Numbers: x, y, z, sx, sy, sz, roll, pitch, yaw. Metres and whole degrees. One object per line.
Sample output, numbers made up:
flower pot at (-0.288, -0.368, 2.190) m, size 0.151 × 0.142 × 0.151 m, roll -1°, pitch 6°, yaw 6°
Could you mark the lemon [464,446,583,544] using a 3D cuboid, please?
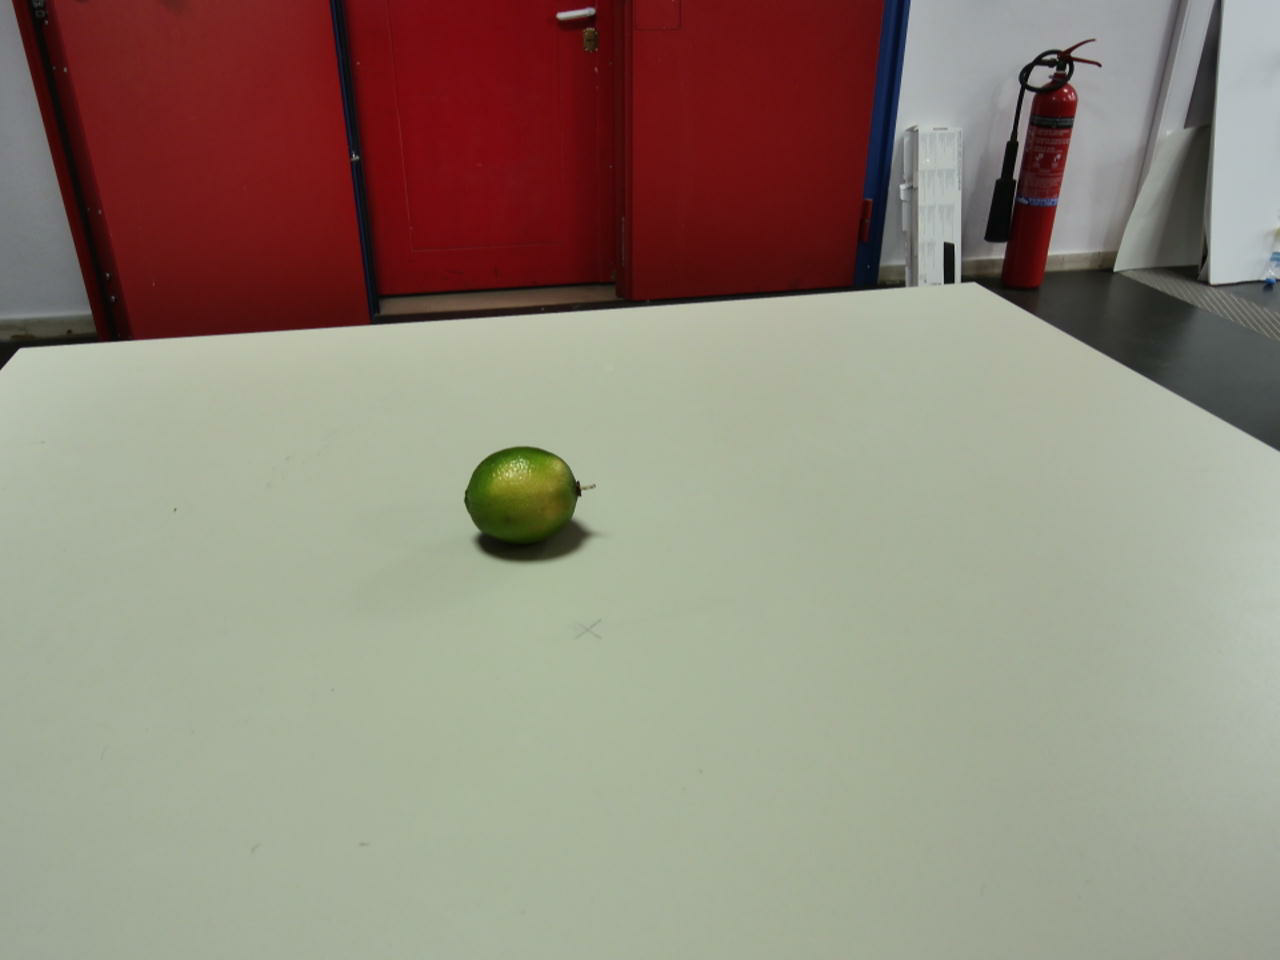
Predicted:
lemon at (-0.062, 0.008, 0.524) m, size 0.055 × 0.050 × 0.054 m, roll 18°, pitch 31°, yaw 33°
